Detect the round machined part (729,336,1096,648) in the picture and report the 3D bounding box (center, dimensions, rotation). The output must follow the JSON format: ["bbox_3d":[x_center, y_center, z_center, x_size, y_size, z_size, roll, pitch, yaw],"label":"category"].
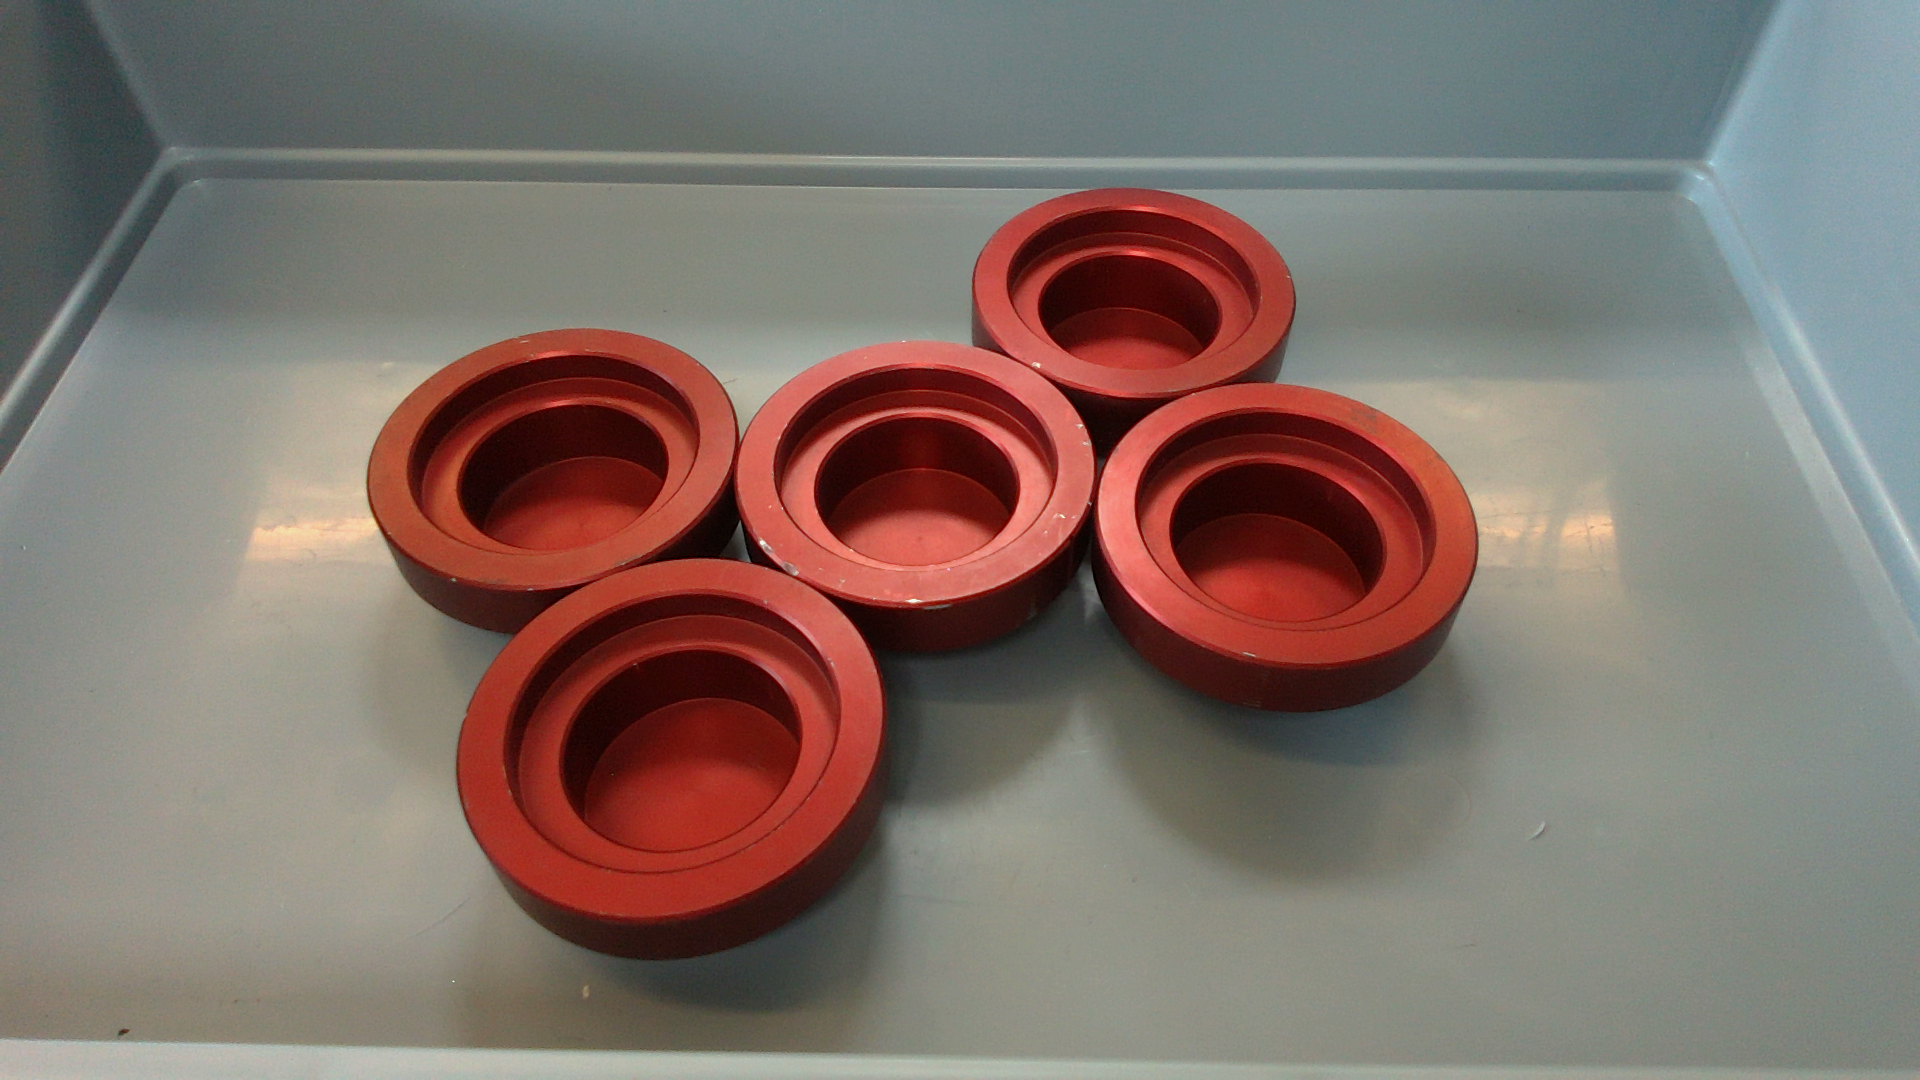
[{"bbox_3d":[-0.013,-0.009,0.384,0.098,0.042,0.098,0,50,0],"label":"round machined part"}]

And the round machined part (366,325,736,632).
[{"bbox_3d":[-0.110,-0.013,0.389,0.098,0.042,0.098,0,50,0],"label":"round machined part"}]

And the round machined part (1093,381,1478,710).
[{"bbox_3d":[0.085,0.005,0.373,0.098,0.042,0.098,0,50,0],"label":"round machined part"}]

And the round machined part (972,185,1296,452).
[{"bbox_3d":[0.053,-0.065,0.433,0.098,0.042,0.098,0,50,0],"label":"round machined part"}]

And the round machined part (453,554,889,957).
[{"bbox_3d":[-0.066,0.054,0.331,0.098,0.042,0.098,0,50,0],"label":"round machined part"}]
